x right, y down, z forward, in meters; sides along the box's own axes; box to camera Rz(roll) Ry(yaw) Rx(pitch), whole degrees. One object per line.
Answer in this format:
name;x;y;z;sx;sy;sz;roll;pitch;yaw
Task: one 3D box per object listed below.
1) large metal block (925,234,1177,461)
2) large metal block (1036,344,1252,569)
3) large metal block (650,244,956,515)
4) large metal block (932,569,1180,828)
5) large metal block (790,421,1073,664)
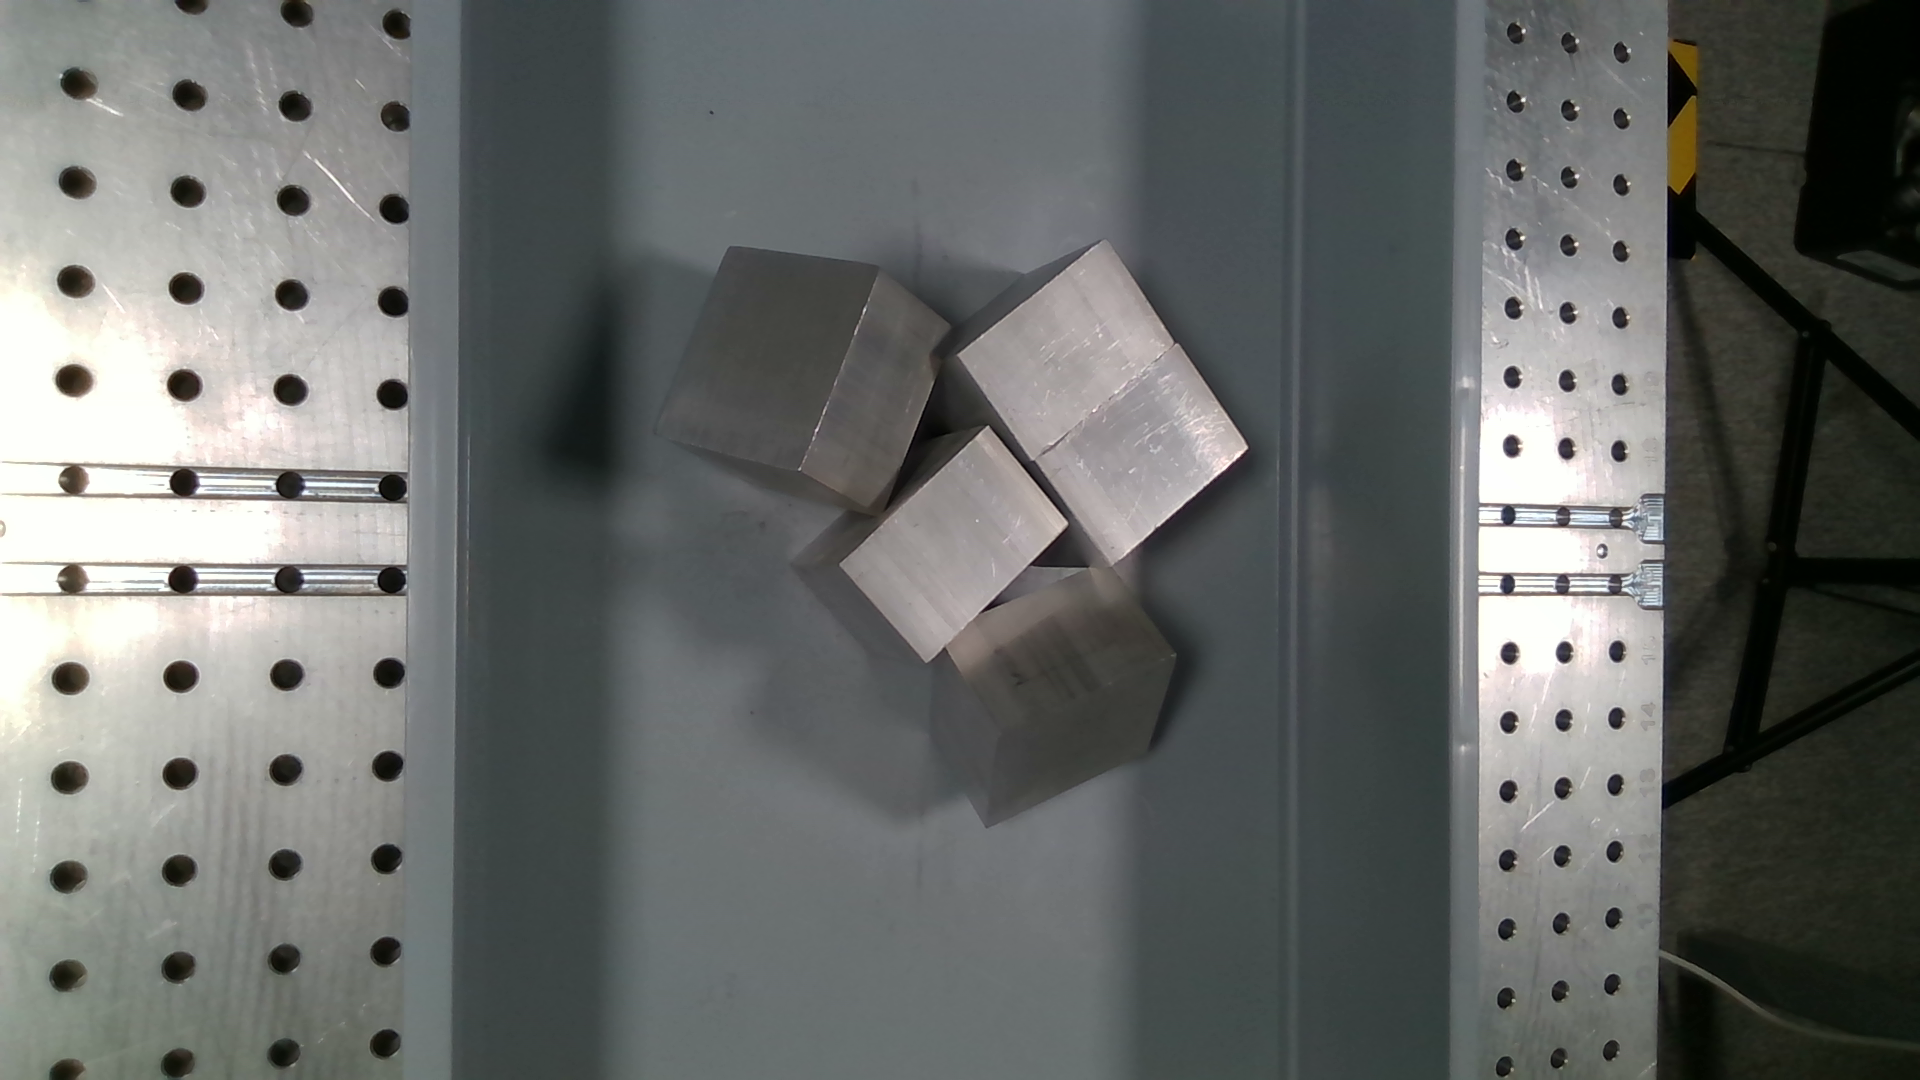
large metal block;0.028;-0.074;0.566;0.080;0.080;0.050;-39;103;-16
large metal block;0.060;-0.033;0.577;0.080;0.080;0.050;-40;103;-16
large metal block;-0.060;-0.062;0.526;0.050;0.080;0.080;30;78;-53
large metal block;0.036;0.064;0.562;0.080;0.080;0.050;-22;57;-19
large metal block;-0.014;0.001;0.550;0.080;0.080;0.050;-44;104;-15
